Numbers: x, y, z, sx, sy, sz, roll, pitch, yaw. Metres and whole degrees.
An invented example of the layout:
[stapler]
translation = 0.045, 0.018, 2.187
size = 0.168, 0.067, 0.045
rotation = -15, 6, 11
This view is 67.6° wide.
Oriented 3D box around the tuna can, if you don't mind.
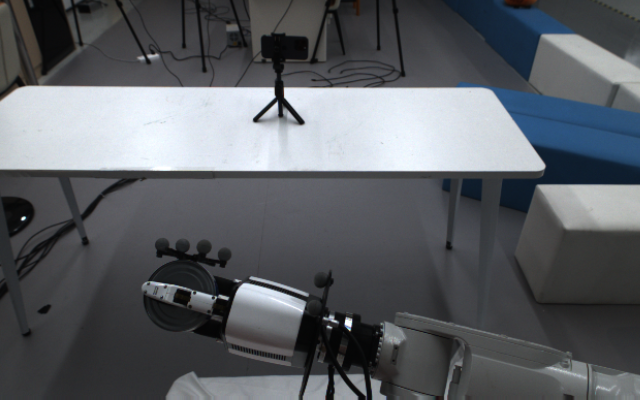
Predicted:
[tuna can]
translation = -0.167, 0.117, 0.591
size = 0.085, 0.034, 0.085
rotation = 1, 71, -2
